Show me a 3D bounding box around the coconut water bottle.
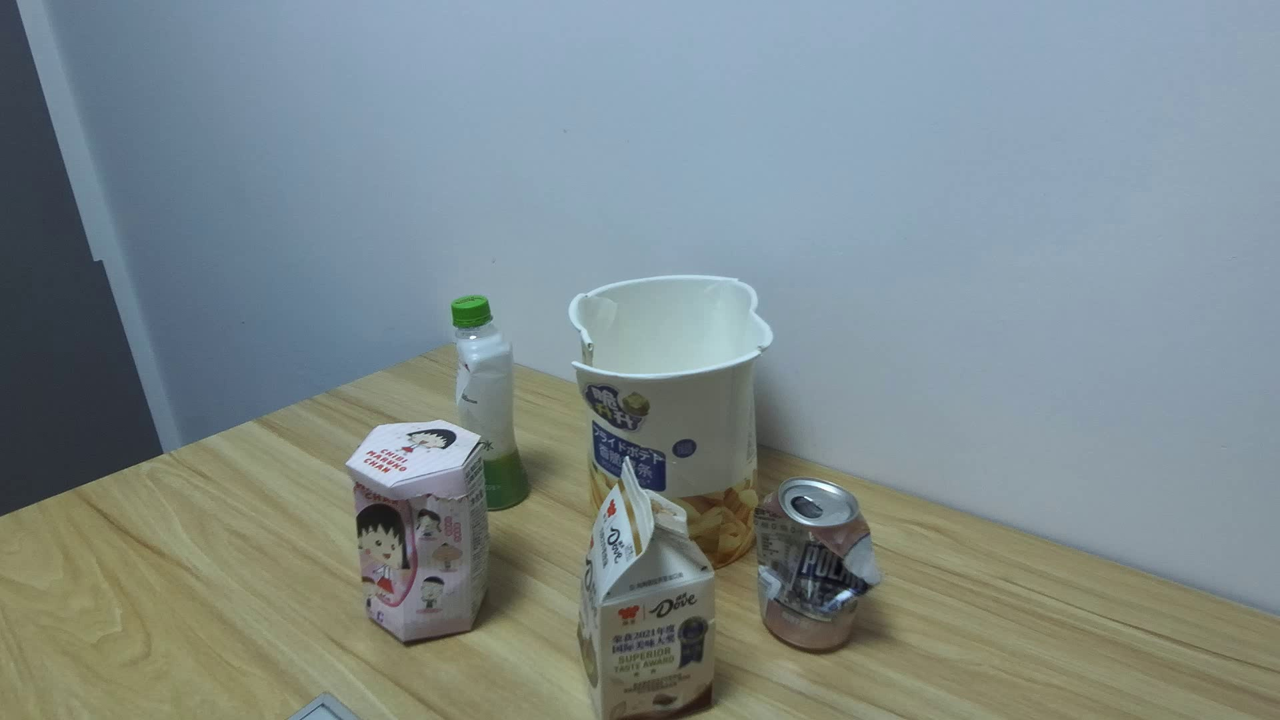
[{"bbox_3d":[-0.136,0.038,0.623,0.069,0.187,0.069,0,23,0],"label":"coconut water bottle"}]

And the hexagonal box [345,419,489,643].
[{"bbox_3d":[-0.154,0.119,0.503,0.090,0.134,0.091,-3,23,-15],"label":"hexagonal box"}]

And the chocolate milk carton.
[{"bbox_3d":[0.002,0.137,0.431,0.073,0.155,0.084,-7,25,-14],"label":"chocolate milk carton"}]

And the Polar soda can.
[{"bbox_3d":[0.120,0.140,0.484,0.074,0.114,0.070,-5,30,-3],"label":"Polar soda can"}]

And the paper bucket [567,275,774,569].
[{"bbox_3d":[0.027,0.051,0.574,0.146,0.197,0.202,-4,24,-3],"label":"paper bucket"}]
